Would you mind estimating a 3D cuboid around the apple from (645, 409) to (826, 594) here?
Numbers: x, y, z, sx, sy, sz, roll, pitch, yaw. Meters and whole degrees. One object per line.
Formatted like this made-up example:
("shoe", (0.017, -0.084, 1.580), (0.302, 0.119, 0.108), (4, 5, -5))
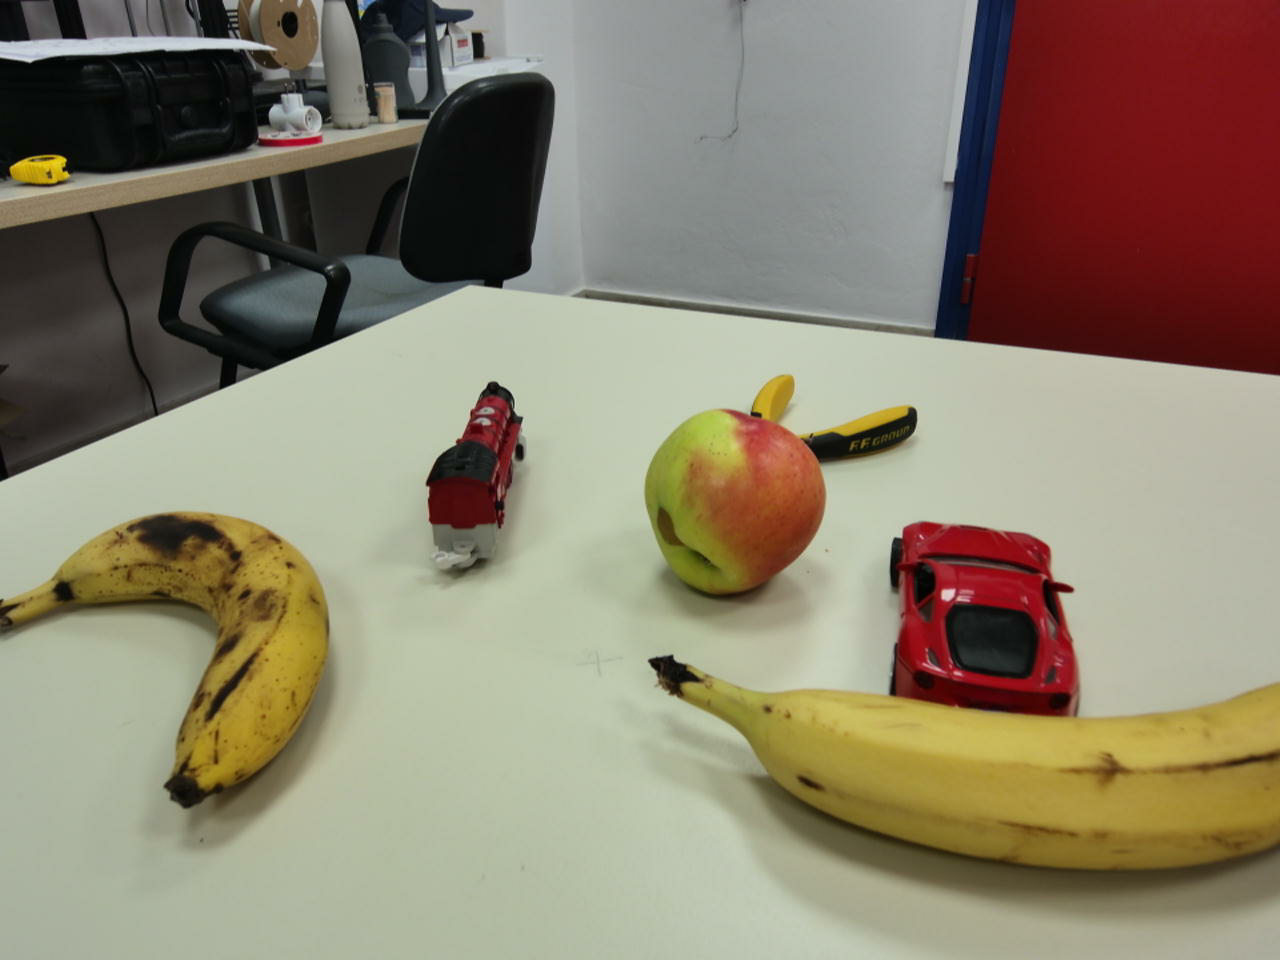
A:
("apple", (0.038, 0.010, 0.418), (0.075, 0.074, 0.075), (2, 23, 6))
